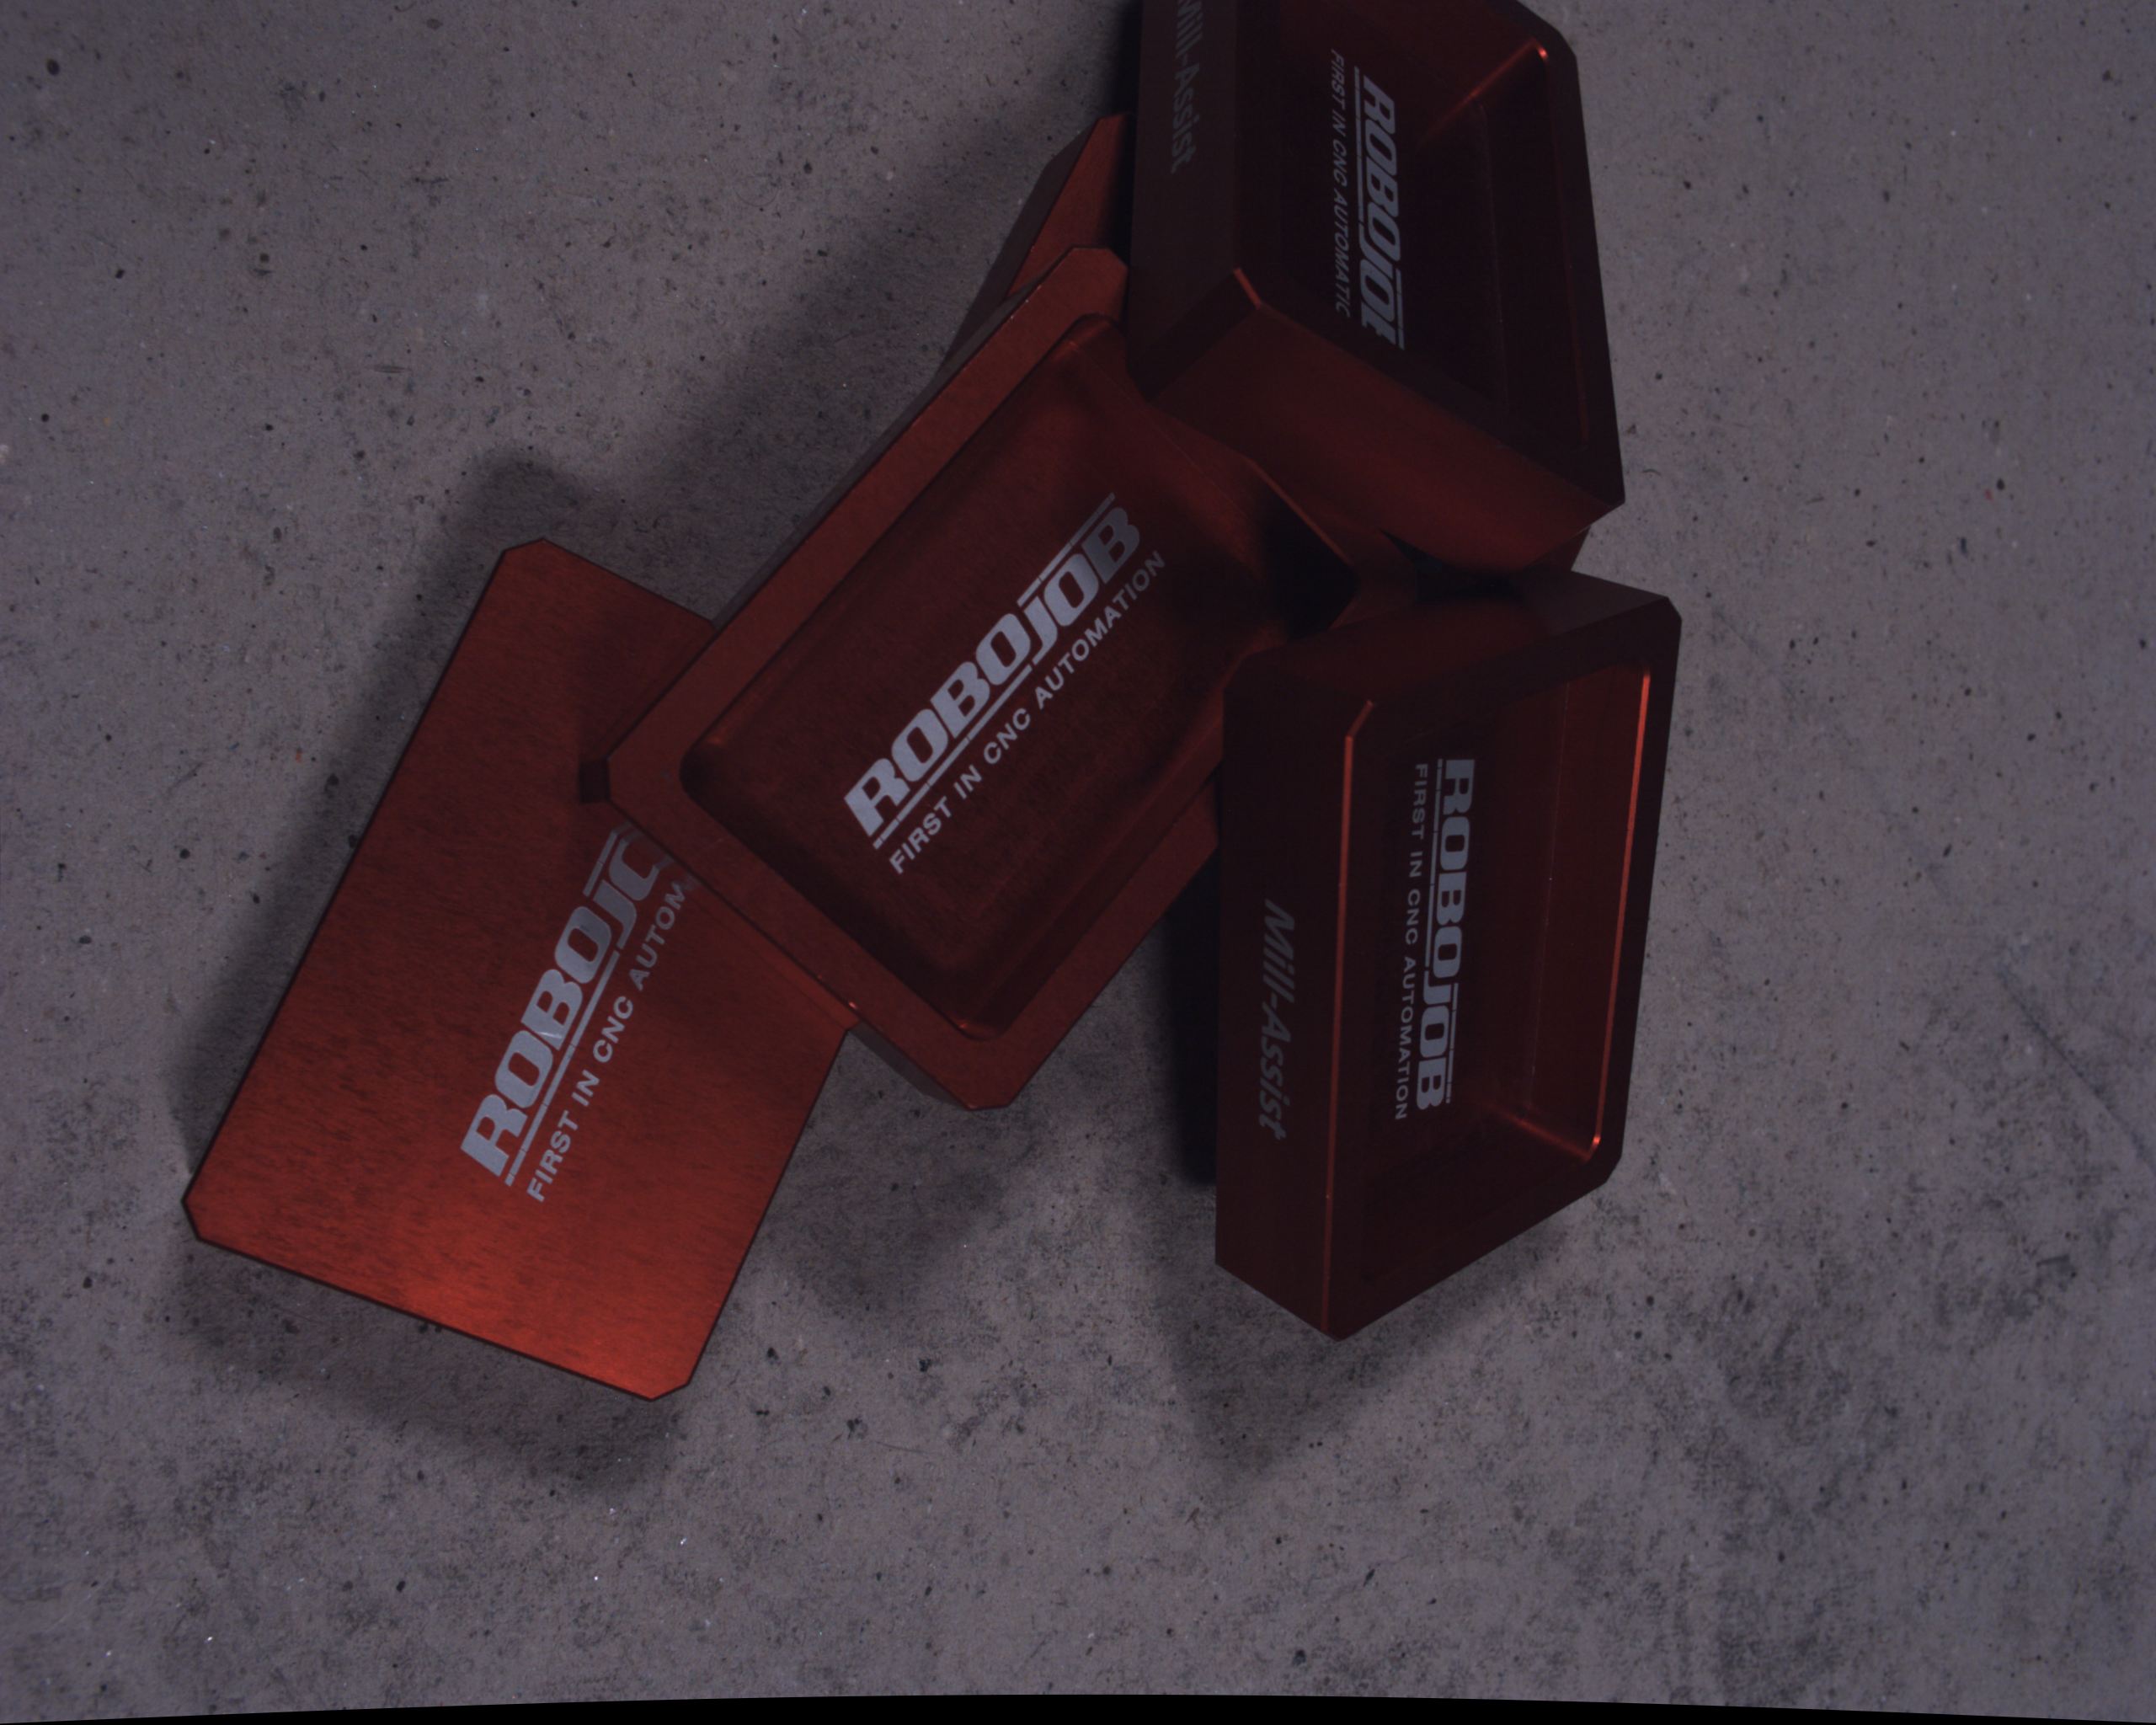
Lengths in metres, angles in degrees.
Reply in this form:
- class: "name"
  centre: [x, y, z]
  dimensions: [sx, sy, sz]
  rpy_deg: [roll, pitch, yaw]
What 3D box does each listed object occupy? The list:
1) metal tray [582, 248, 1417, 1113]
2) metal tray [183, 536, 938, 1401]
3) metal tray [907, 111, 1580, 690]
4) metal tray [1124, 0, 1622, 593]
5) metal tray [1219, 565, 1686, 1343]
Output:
- class: "metal tray"
  centre: [-0.011, -0.032, 0.372]
  dimensions: [0.090, 0.030, 0.130]
  rpy_deg: [43, 76, -15]
- class: "metal tray"
  centre: [-0.088, 0.019, 0.375]
  dimensions: [0.090, 0.030, 0.130]
  rpy_deg: [26, 81, -19]
- class: "metal tray"
  centre: [0.036, -0.076, 0.422]
  dimensions: [0.131, 0.030, 0.090]
  rpy_deg: [28, 81, -18]
- class: "metal tray"
  centre: [0.056, -0.125, 0.393]
  dimensions: [0.091, 0.030, 0.130]
  rpy_deg: [22, 55, -29]
- class: "metal tray"
  centre: [0.070, 0.017, 0.398]
  dimensions: [0.091, 0.030, 0.129]
  rpy_deg: [-21, 122, -35]
